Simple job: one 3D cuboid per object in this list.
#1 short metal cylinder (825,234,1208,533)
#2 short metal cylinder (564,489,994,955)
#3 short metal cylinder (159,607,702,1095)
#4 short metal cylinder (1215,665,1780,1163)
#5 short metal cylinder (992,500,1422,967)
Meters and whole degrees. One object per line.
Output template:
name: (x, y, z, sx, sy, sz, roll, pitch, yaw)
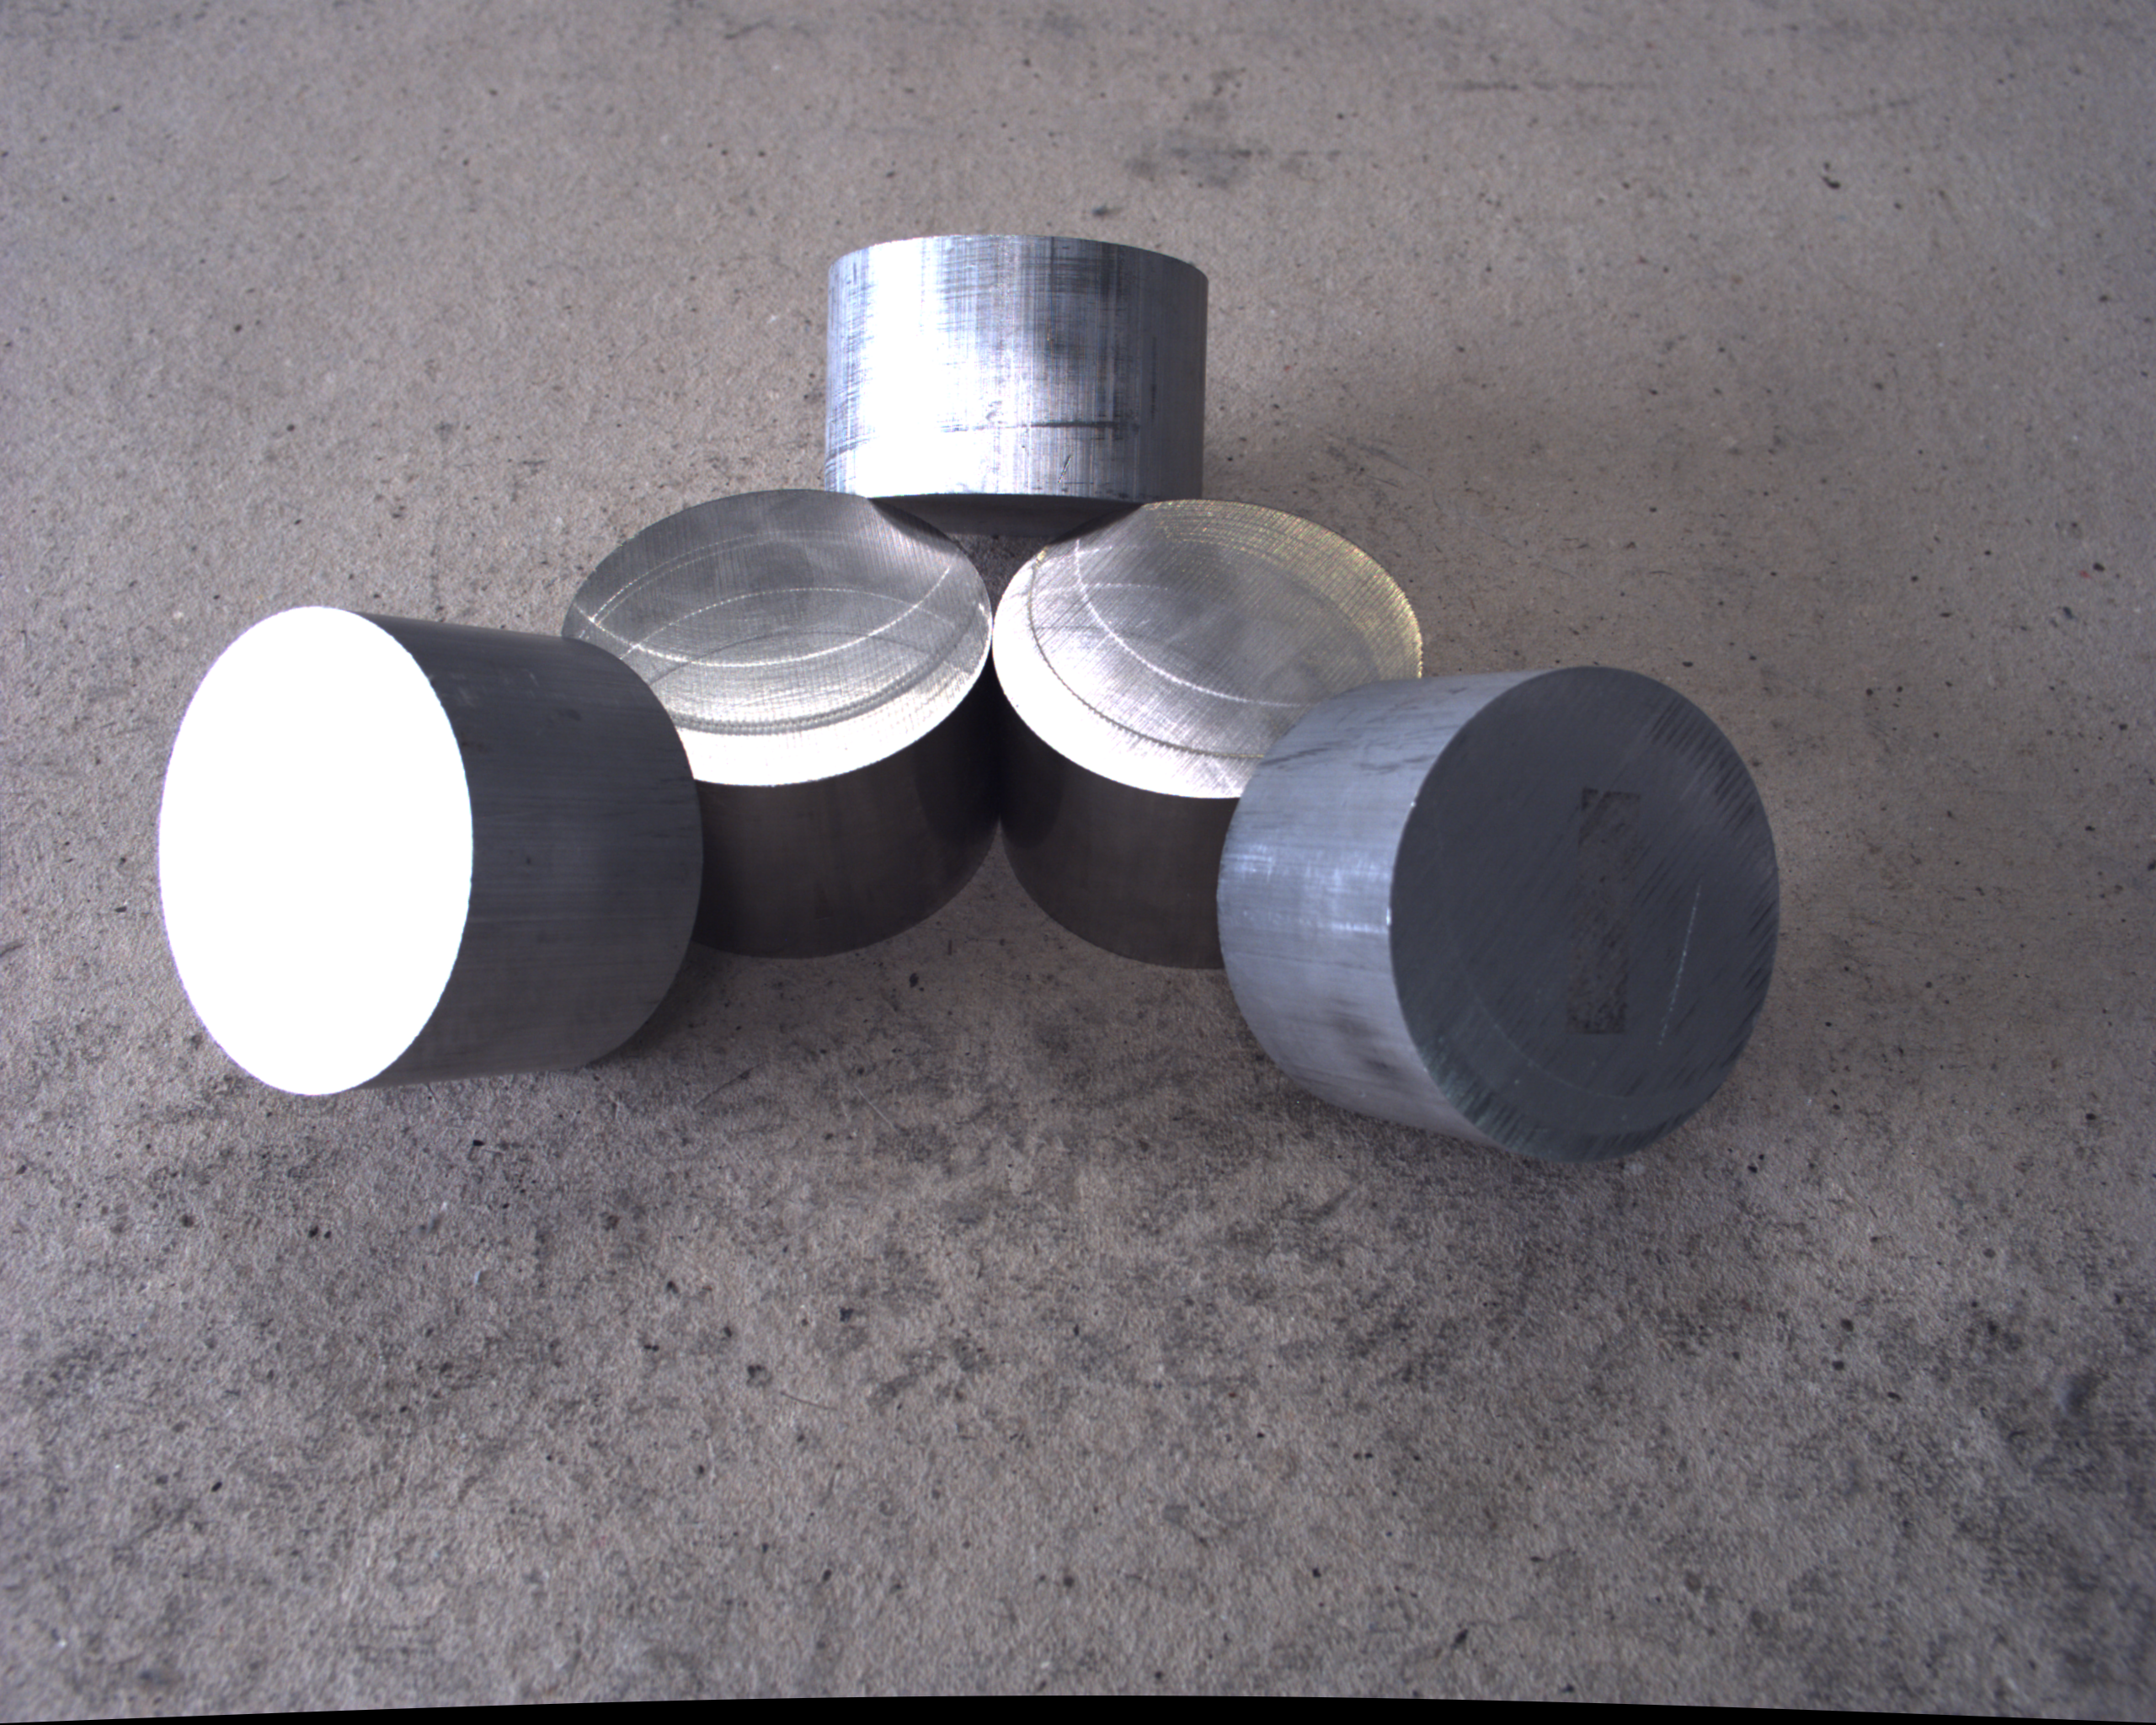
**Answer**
short metal cylinder: (-0.013, -0.098, 0.444, 0.080, 0.080, 0.050, 1, 93, 1)
short metal cylinder: (-0.056, -0.029, 0.412, 0.080, 0.050, 0.080, 0, 50, 0)
short metal cylinder: (-0.112, -0.002, 0.362, 0.080, 0.080, 0.050, 39, 20, 28)
short metal cylinder: (0.071, 0.007, 0.355, 0.081, 0.080, 0.050, -30, 15, -23)
short metal cylinder: (0.024, -0.026, 0.410, 0.080, 0.050, 0.080, 0, 50, 0)
